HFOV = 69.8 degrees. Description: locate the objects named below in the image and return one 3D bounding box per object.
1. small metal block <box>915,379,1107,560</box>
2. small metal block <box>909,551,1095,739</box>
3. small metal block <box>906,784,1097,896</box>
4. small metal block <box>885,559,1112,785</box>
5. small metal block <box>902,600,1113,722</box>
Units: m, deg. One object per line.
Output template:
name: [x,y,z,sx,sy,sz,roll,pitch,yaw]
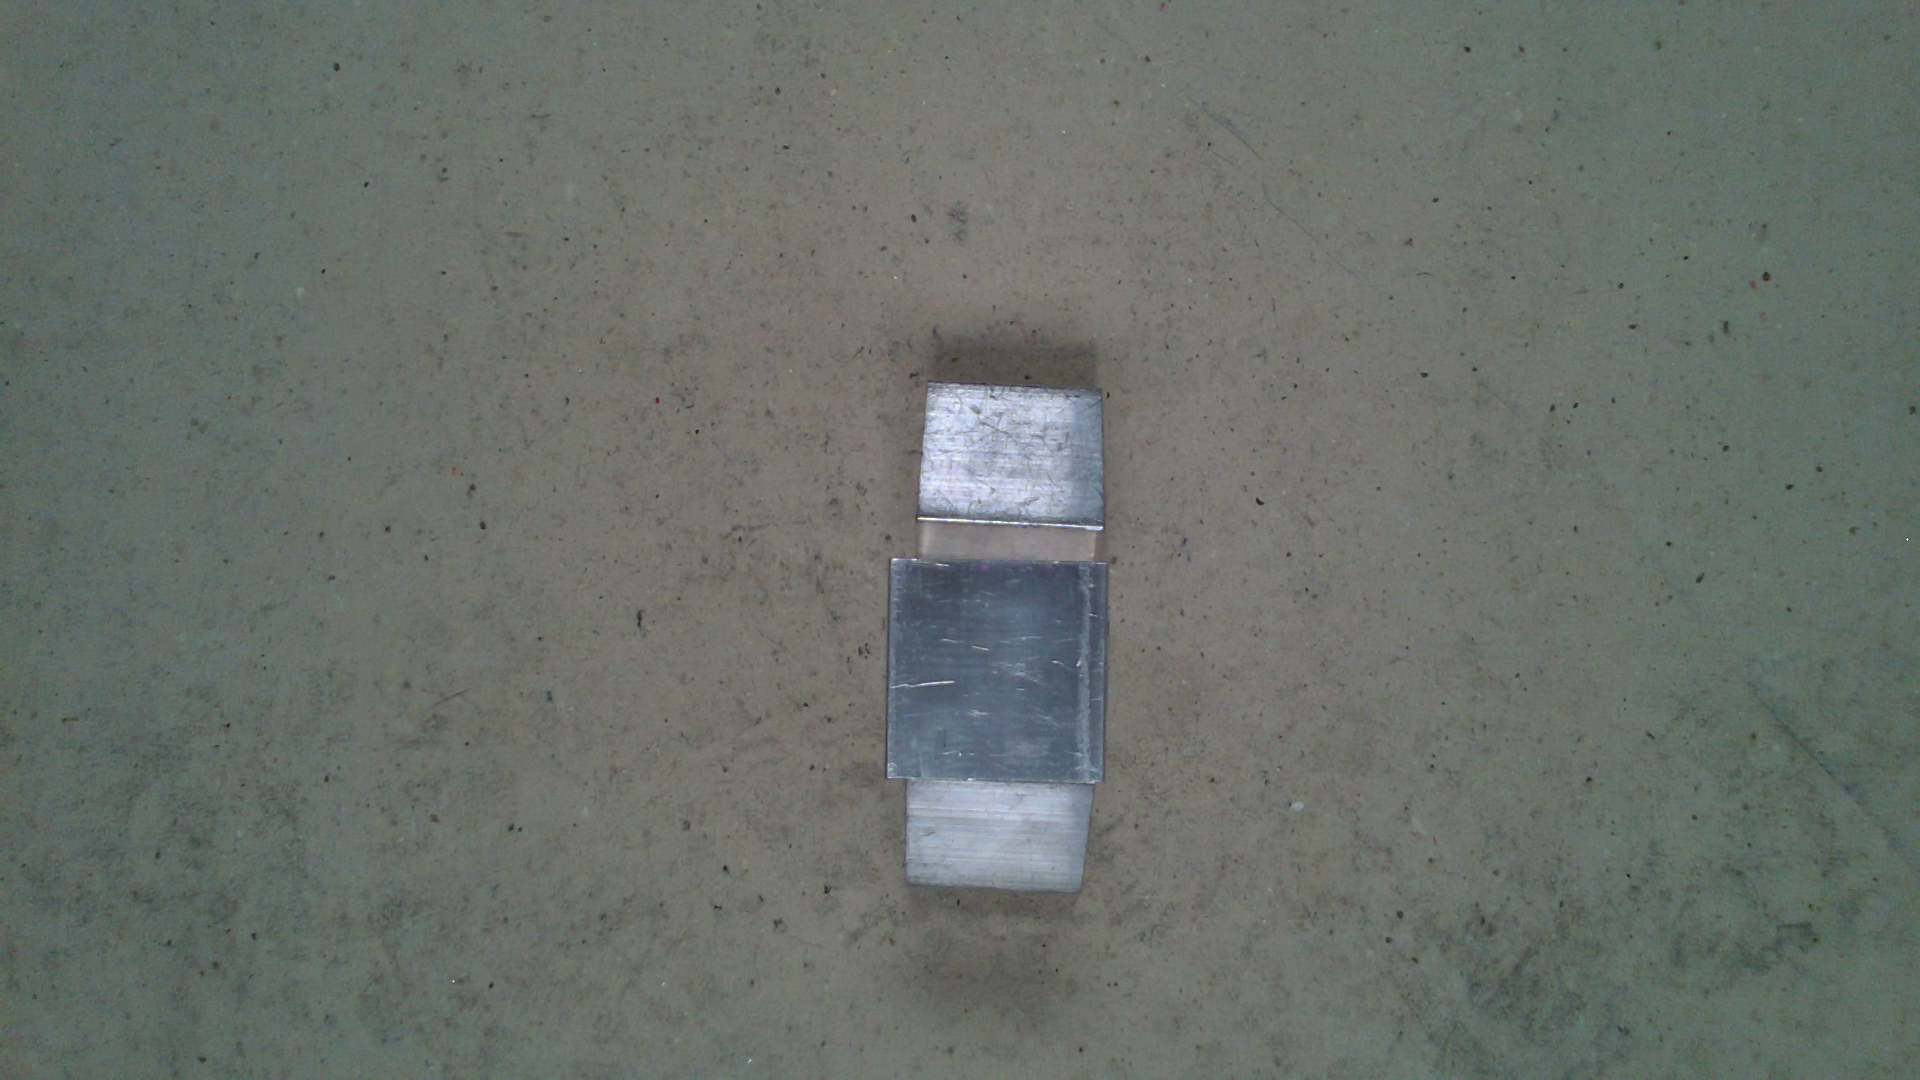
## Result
small metal block: [0.014,-0.017,0.383,0.050,0.025,0.050,2,54,0]
small metal block: [0.012,0.029,0.396,0.050,0.025,0.050,2,90,0]
small metal block: [0.011,0.073,0.383,0.050,0.025,0.050,2,131,0]
small metal block: [0.009,0.030,0.321,0.050,0.025,0.050,1,90,0]
small metal block: [0.012,0.030,0.358,0.050,0.050,0.025,2,90,0]
